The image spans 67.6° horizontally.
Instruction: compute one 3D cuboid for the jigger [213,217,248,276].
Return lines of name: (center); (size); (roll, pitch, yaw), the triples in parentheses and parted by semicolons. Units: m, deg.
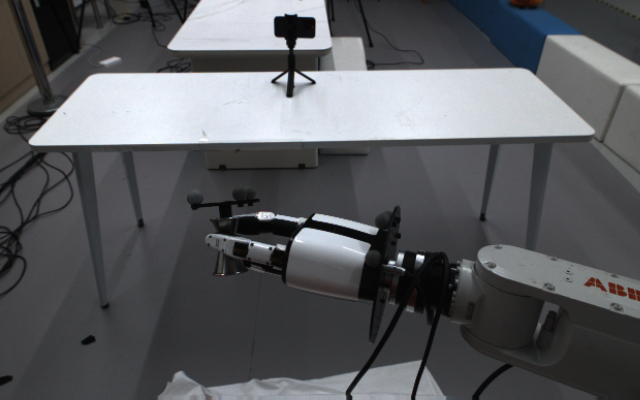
jigger: (-0.112, 0.055, 0.591); (0.043, 0.071, 0.043); (-4, 1, 0)
